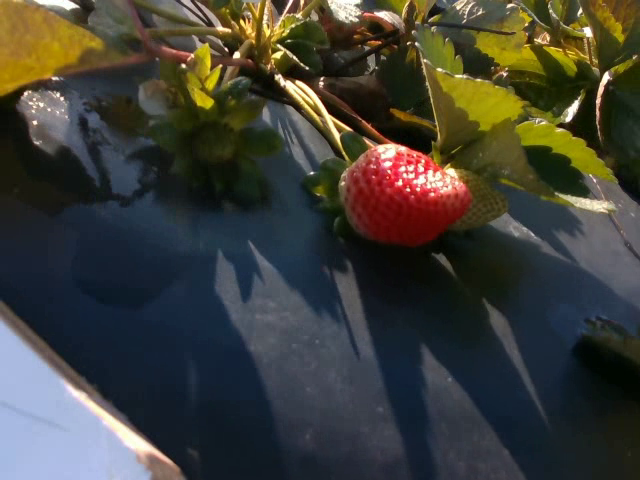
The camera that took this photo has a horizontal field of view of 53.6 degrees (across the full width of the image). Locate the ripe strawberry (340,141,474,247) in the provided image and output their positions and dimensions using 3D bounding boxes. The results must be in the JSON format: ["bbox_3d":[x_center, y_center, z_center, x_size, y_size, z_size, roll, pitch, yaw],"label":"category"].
[{"bbox_3d":[0.025,-0.010,0.162,0.042,0.037,0.045,32,-21,-22],"label":"ripe strawberry"}]
